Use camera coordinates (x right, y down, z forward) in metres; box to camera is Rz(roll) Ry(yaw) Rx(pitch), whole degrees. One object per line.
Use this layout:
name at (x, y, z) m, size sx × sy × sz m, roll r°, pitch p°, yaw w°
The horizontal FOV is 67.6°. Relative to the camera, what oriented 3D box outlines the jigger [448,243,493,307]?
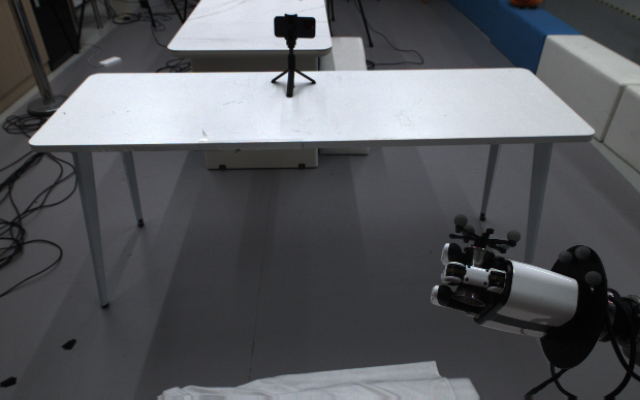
jigger at (0.203, 0.098, 0.635) m, size 0.043 × 0.043 × 0.071 m, roll 13°, pitch 72°, yaw 15°
